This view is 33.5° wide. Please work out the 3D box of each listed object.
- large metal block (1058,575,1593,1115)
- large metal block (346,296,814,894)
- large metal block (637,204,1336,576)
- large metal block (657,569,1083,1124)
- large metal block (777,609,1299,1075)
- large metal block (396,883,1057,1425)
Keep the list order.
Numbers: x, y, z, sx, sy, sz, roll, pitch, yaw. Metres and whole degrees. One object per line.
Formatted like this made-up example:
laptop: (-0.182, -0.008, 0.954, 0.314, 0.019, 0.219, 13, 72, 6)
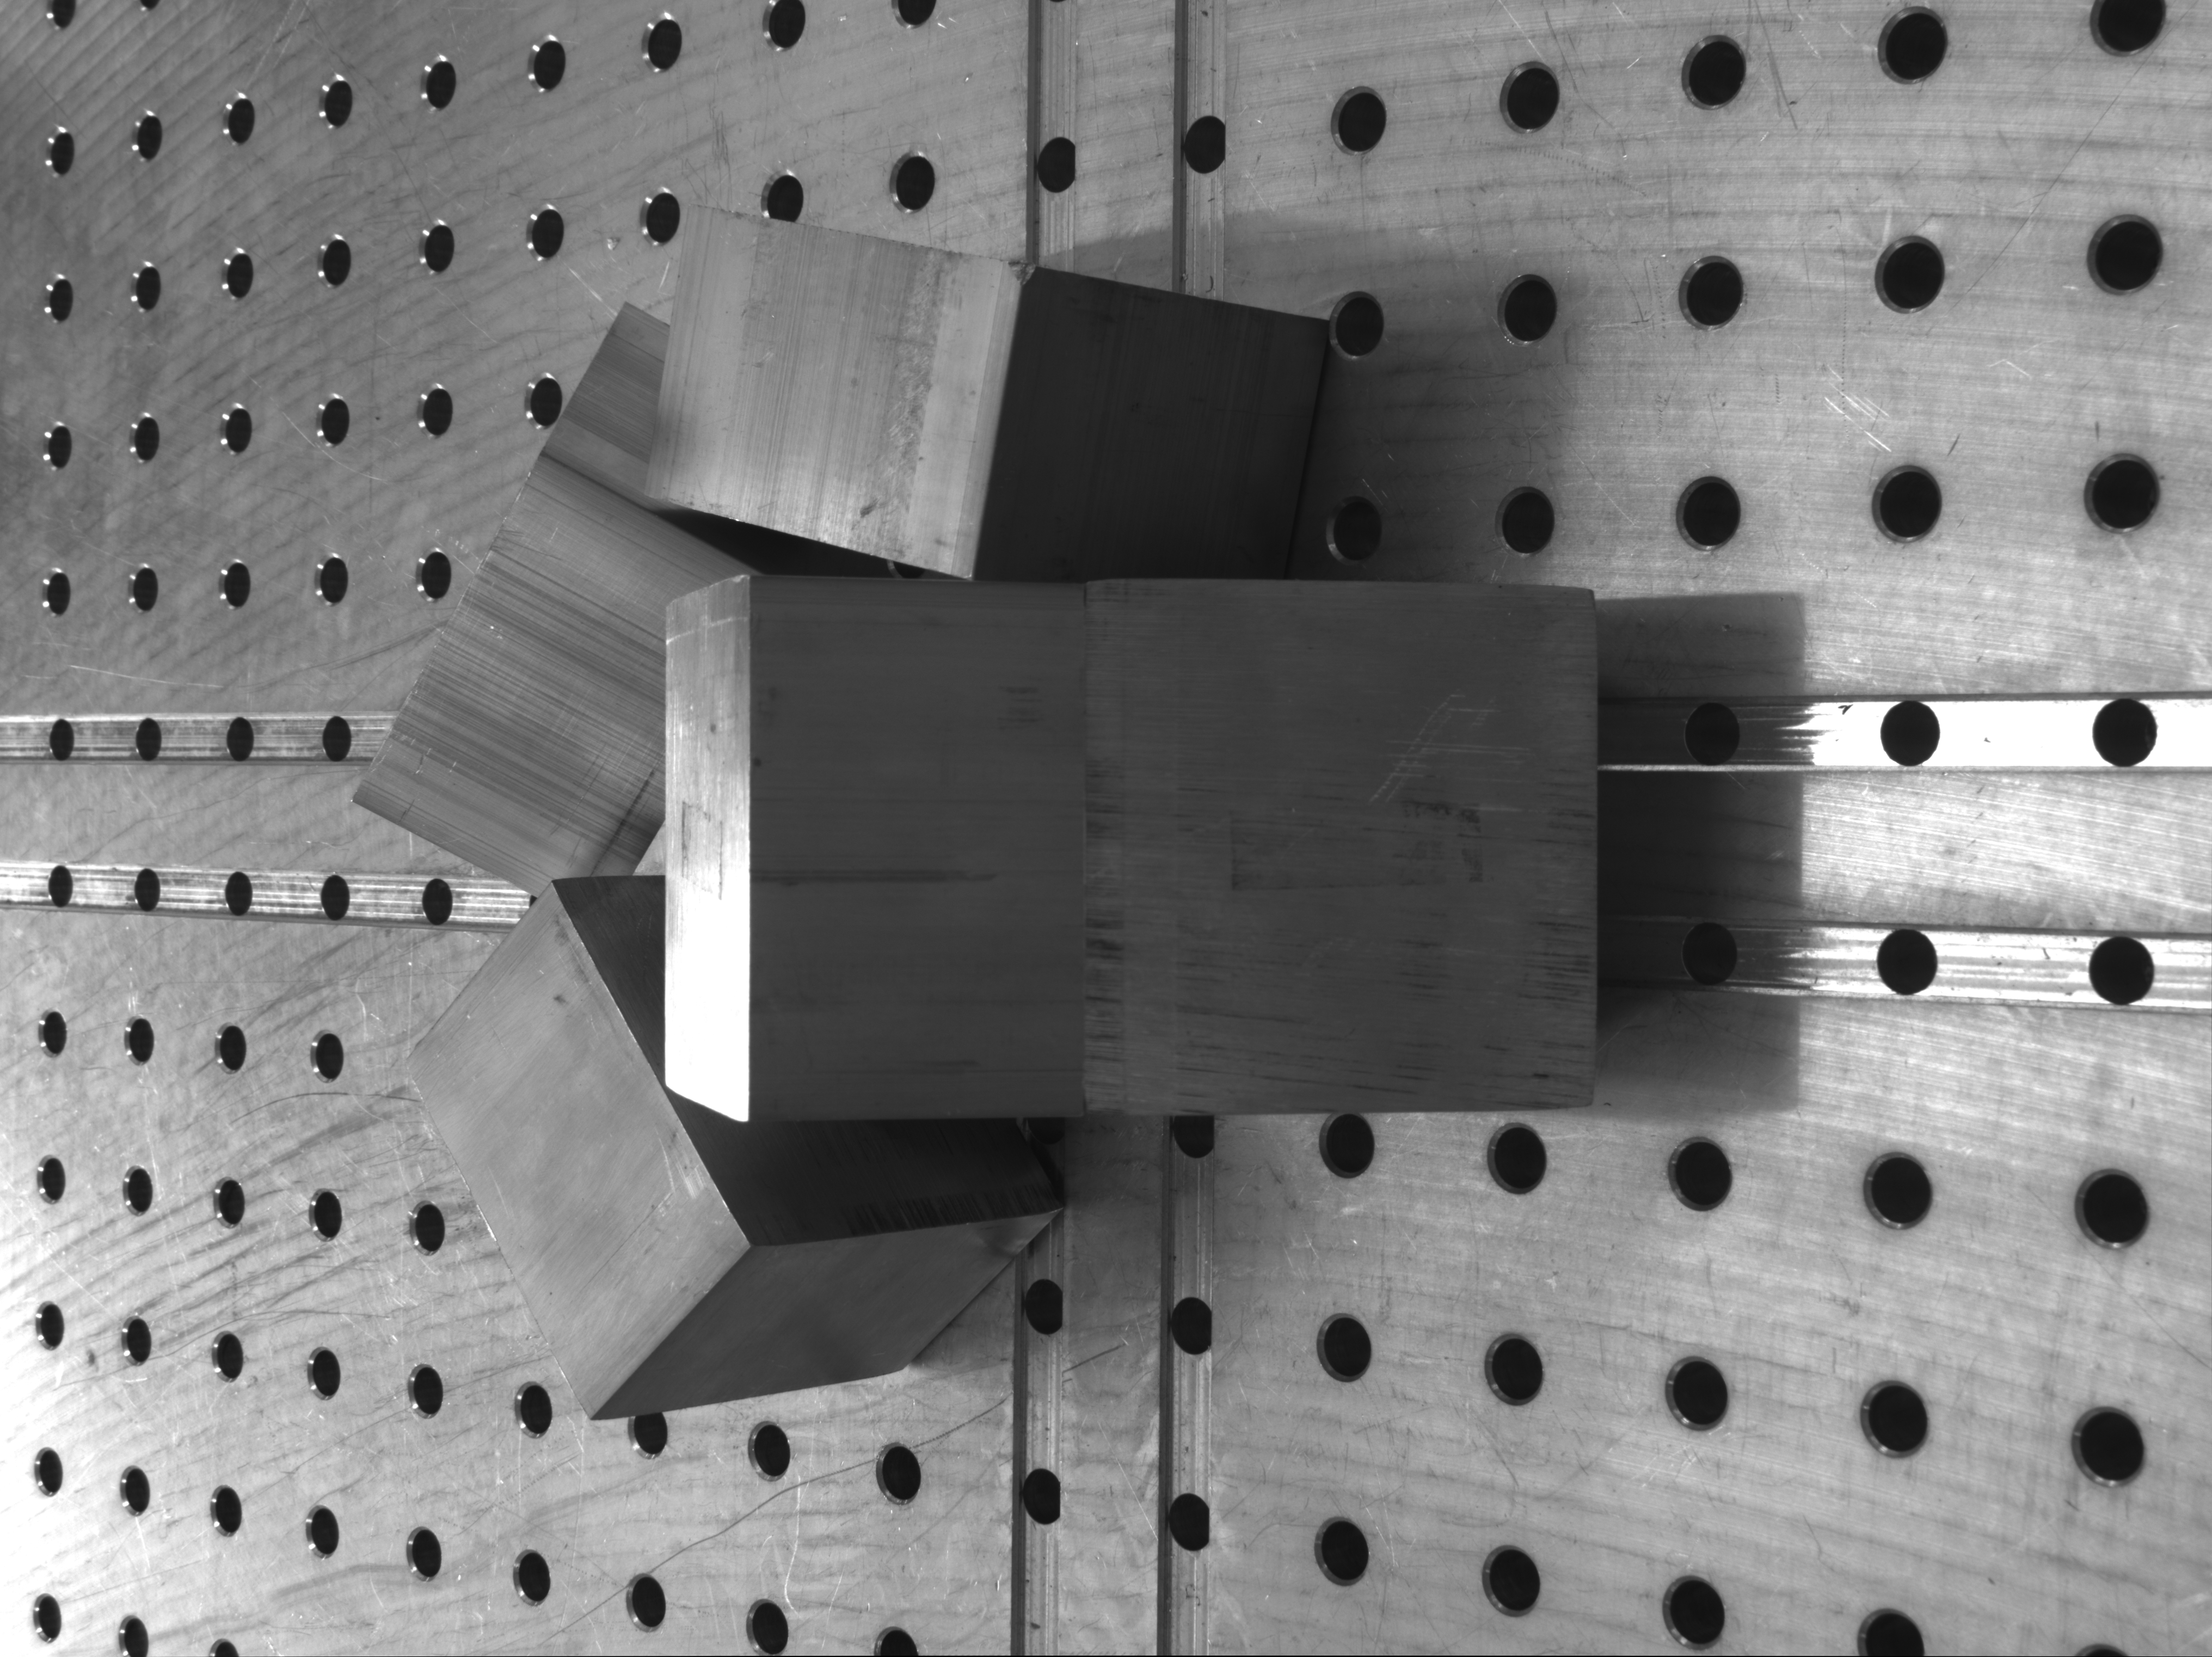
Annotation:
large metal block: (0.030, 0.003, 0.577, 0.050, 0.080, 0.080, 178, 93, -78)
large metal block: (-0.092, -0.041, 0.682, 0.050, 0.080, 0.080, 29, 115, -10)
large metal block: (-0.020, -0.072, 0.631, 0.080, 0.080, 0.050, 17, 101, 39)
large metal block: (-0.039, 0.003, 0.574, 0.080, 0.050, 0.080, 180, 92, -74)
large metal block: (-0.012, 0.002, 0.643, 0.080, 0.050, 0.080, 1, 91, 40)
large metal block: (-0.069, 0.056, 0.669, 0.050, 0.080, 0.080, -47, 62, 29)
